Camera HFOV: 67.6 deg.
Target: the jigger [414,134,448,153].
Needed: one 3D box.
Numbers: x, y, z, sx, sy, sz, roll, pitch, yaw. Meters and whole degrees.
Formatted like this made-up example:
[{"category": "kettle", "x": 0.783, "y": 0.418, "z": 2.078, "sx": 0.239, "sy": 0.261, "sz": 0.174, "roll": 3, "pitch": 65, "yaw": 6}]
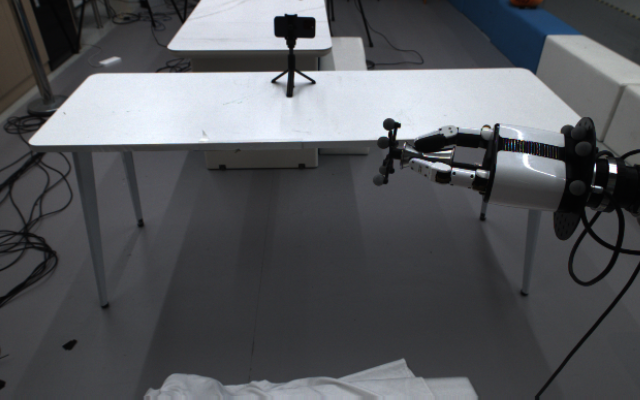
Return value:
[{"category": "jigger", "x": 0.154, "y": -0.060, "z": 0.669, "sx": 0.071, "sy": 0.043, "sz": 0.043, "roll": 11, "pitch": 36, "yaw": 15}]
